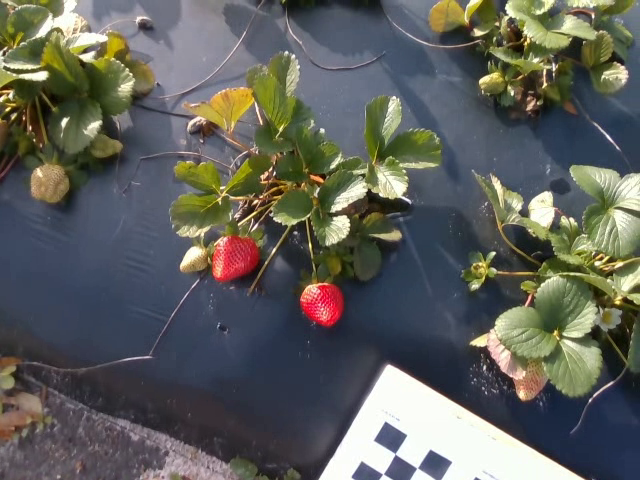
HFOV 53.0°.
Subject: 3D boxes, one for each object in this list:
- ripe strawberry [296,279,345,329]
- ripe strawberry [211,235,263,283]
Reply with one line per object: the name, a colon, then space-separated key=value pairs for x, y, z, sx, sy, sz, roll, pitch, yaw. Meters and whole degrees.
ripe strawberry: x=0.002 y=0.045 z=0.431 sx=0.034 sy=0.037 sz=0.039 roll=31 pitch=30 yaw=-16
ripe strawberry: x=-0.061 y=0.015 z=0.435 sx=0.035 sy=0.041 sz=0.036 roll=15 pitch=41 yaw=14
